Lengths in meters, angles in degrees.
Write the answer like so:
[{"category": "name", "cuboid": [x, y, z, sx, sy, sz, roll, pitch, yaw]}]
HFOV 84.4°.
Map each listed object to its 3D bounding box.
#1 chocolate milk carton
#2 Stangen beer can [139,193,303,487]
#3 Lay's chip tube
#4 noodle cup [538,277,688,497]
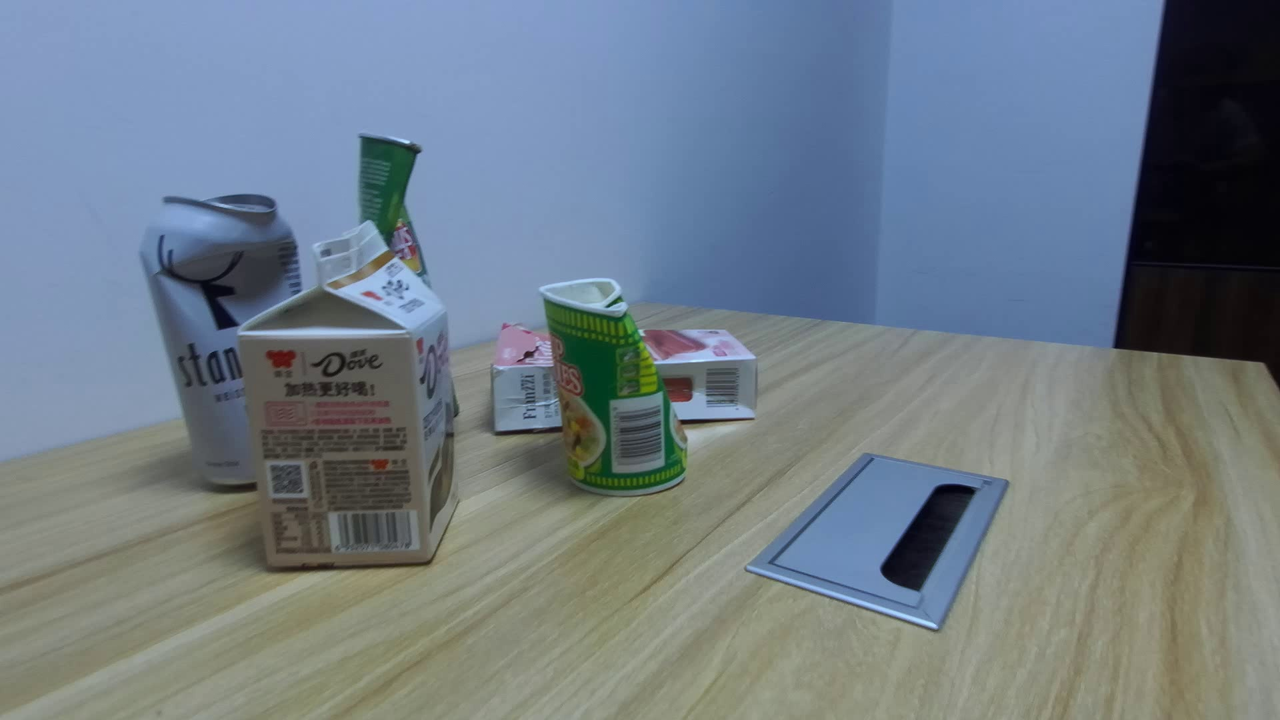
[{"category": "chocolate milk carton", "cuboid": [-0.133, 0.013, 0.338, 0.074, 0.148, 0.075, -1, 12, -2]}, {"category": "Stangen beer can", "cuboid": [-0.219, -0.007, 0.390, 0.066, 0.162, 0.077, -10, 10, -21]}, {"category": "Lay's chip tube", "cuboid": [-0.170, -0.053, 0.494, 0.077, 0.201, 0.069, 12, 18, 36]}, {"category": "noodle cup", "cuboid": [-0.011, 0.013, 0.397, 0.075, 0.122, 0.083, -1, 22, 30]}]
